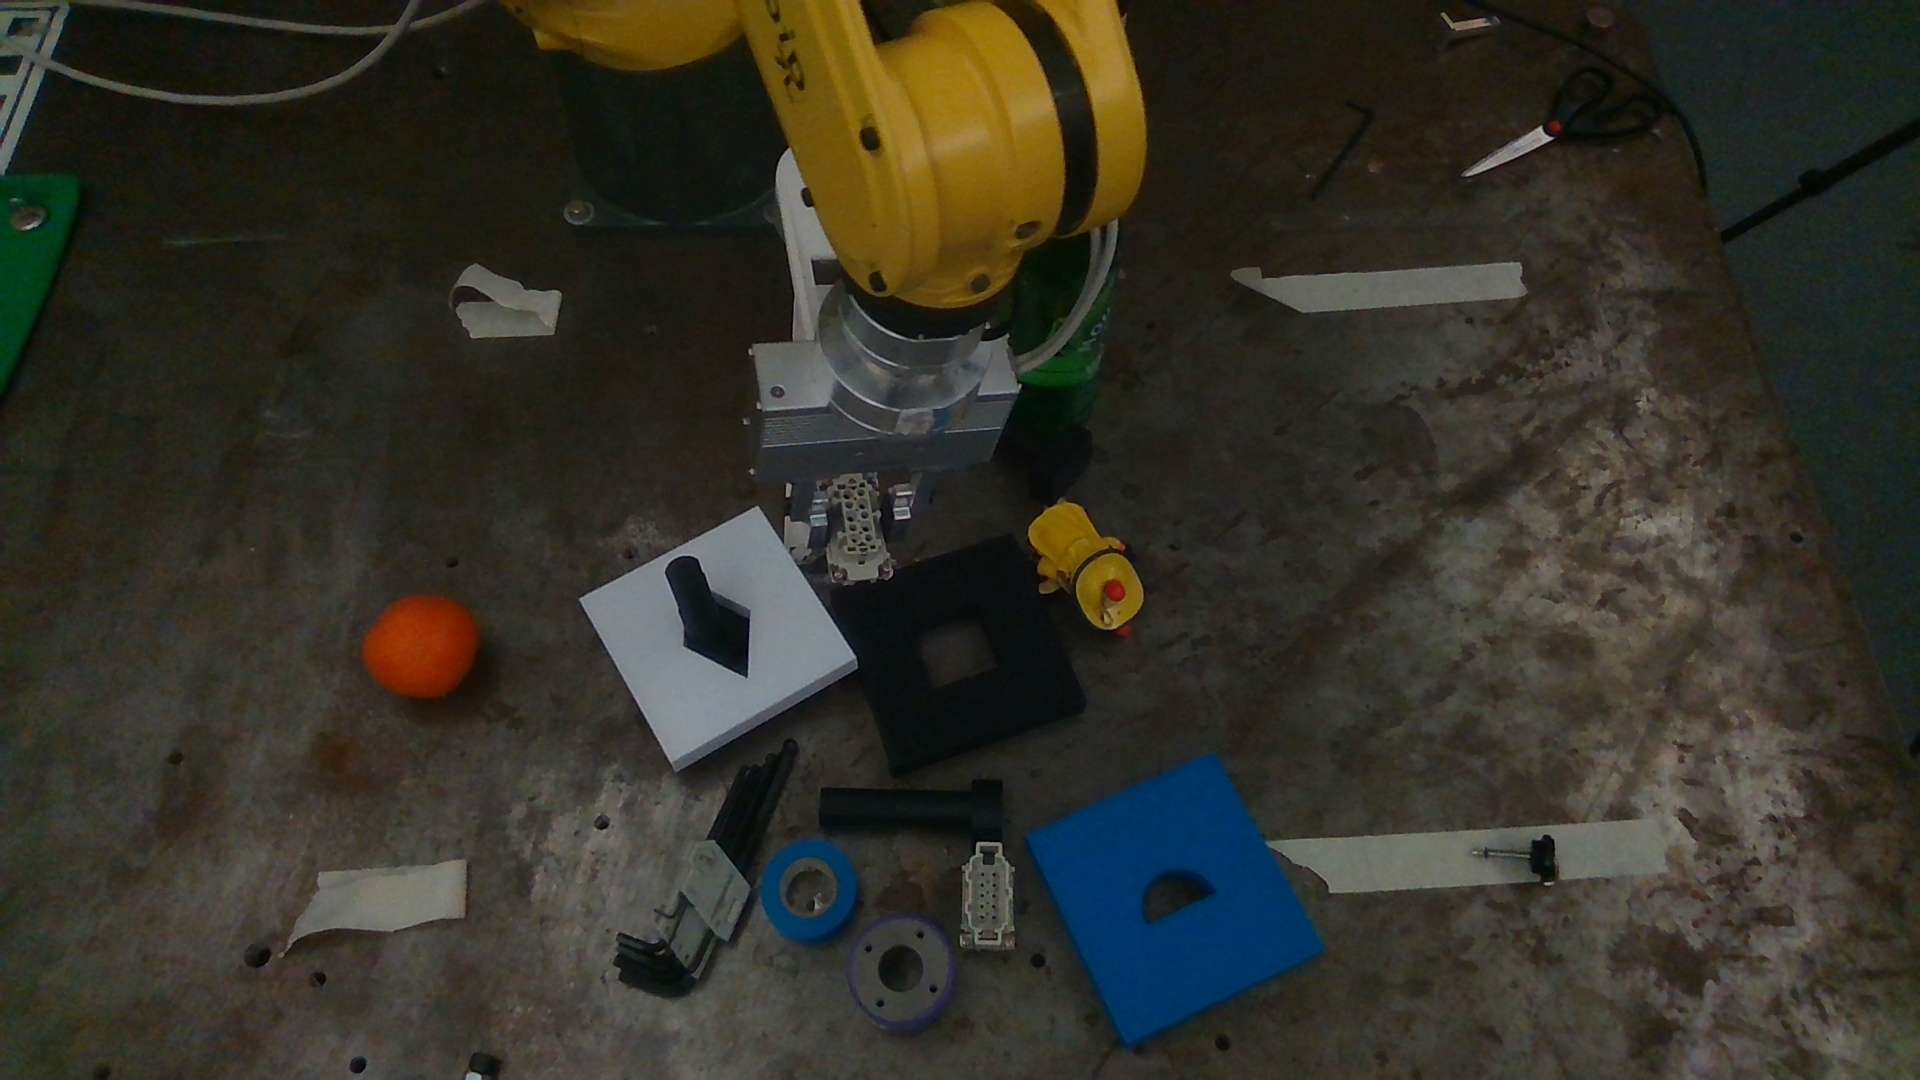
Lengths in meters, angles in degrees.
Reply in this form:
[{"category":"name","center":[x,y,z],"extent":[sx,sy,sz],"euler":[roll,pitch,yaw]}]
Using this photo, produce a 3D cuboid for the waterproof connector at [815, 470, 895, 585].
[{"category":"waterproof connector","center":[-0.061,-0.008,0.797],"extent":[0.036,0.038,0.069],"euler":[-9,65,-7]}]
